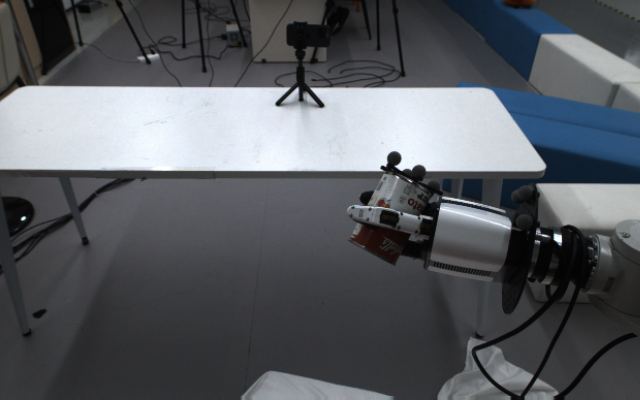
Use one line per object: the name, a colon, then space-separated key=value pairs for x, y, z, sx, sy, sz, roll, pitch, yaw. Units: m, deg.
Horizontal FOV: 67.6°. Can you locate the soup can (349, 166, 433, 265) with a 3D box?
soup can: x=0.090 y=0.023 z=0.613 sx=0.067 sy=0.101 sz=0.067 roll=28 pitch=-3 yaw=1
